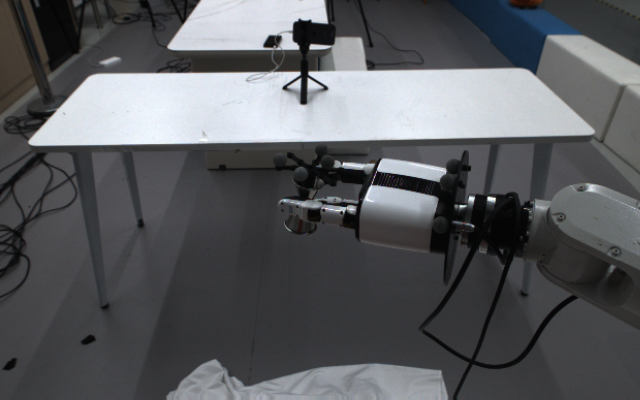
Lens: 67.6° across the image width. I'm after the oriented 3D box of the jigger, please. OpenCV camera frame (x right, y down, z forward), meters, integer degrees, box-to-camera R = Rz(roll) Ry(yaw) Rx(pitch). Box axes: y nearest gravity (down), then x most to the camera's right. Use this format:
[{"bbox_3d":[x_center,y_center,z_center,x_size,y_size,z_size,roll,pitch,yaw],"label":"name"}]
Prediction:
[{"bbox_3d":[-0.020,0.004,0.623,0.043,0.071,0.043,9,30,-5],"label":"jigger"}]
